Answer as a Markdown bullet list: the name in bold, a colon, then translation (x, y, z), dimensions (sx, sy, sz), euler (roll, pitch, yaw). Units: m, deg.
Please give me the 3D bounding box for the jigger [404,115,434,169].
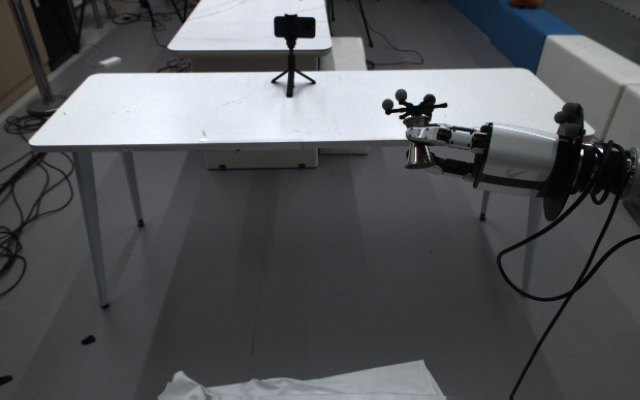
- **jigger**: translation (0.140, -0.083, 0.691), dimensions (0.043, 0.071, 0.043), euler (-2, -7, 0)
